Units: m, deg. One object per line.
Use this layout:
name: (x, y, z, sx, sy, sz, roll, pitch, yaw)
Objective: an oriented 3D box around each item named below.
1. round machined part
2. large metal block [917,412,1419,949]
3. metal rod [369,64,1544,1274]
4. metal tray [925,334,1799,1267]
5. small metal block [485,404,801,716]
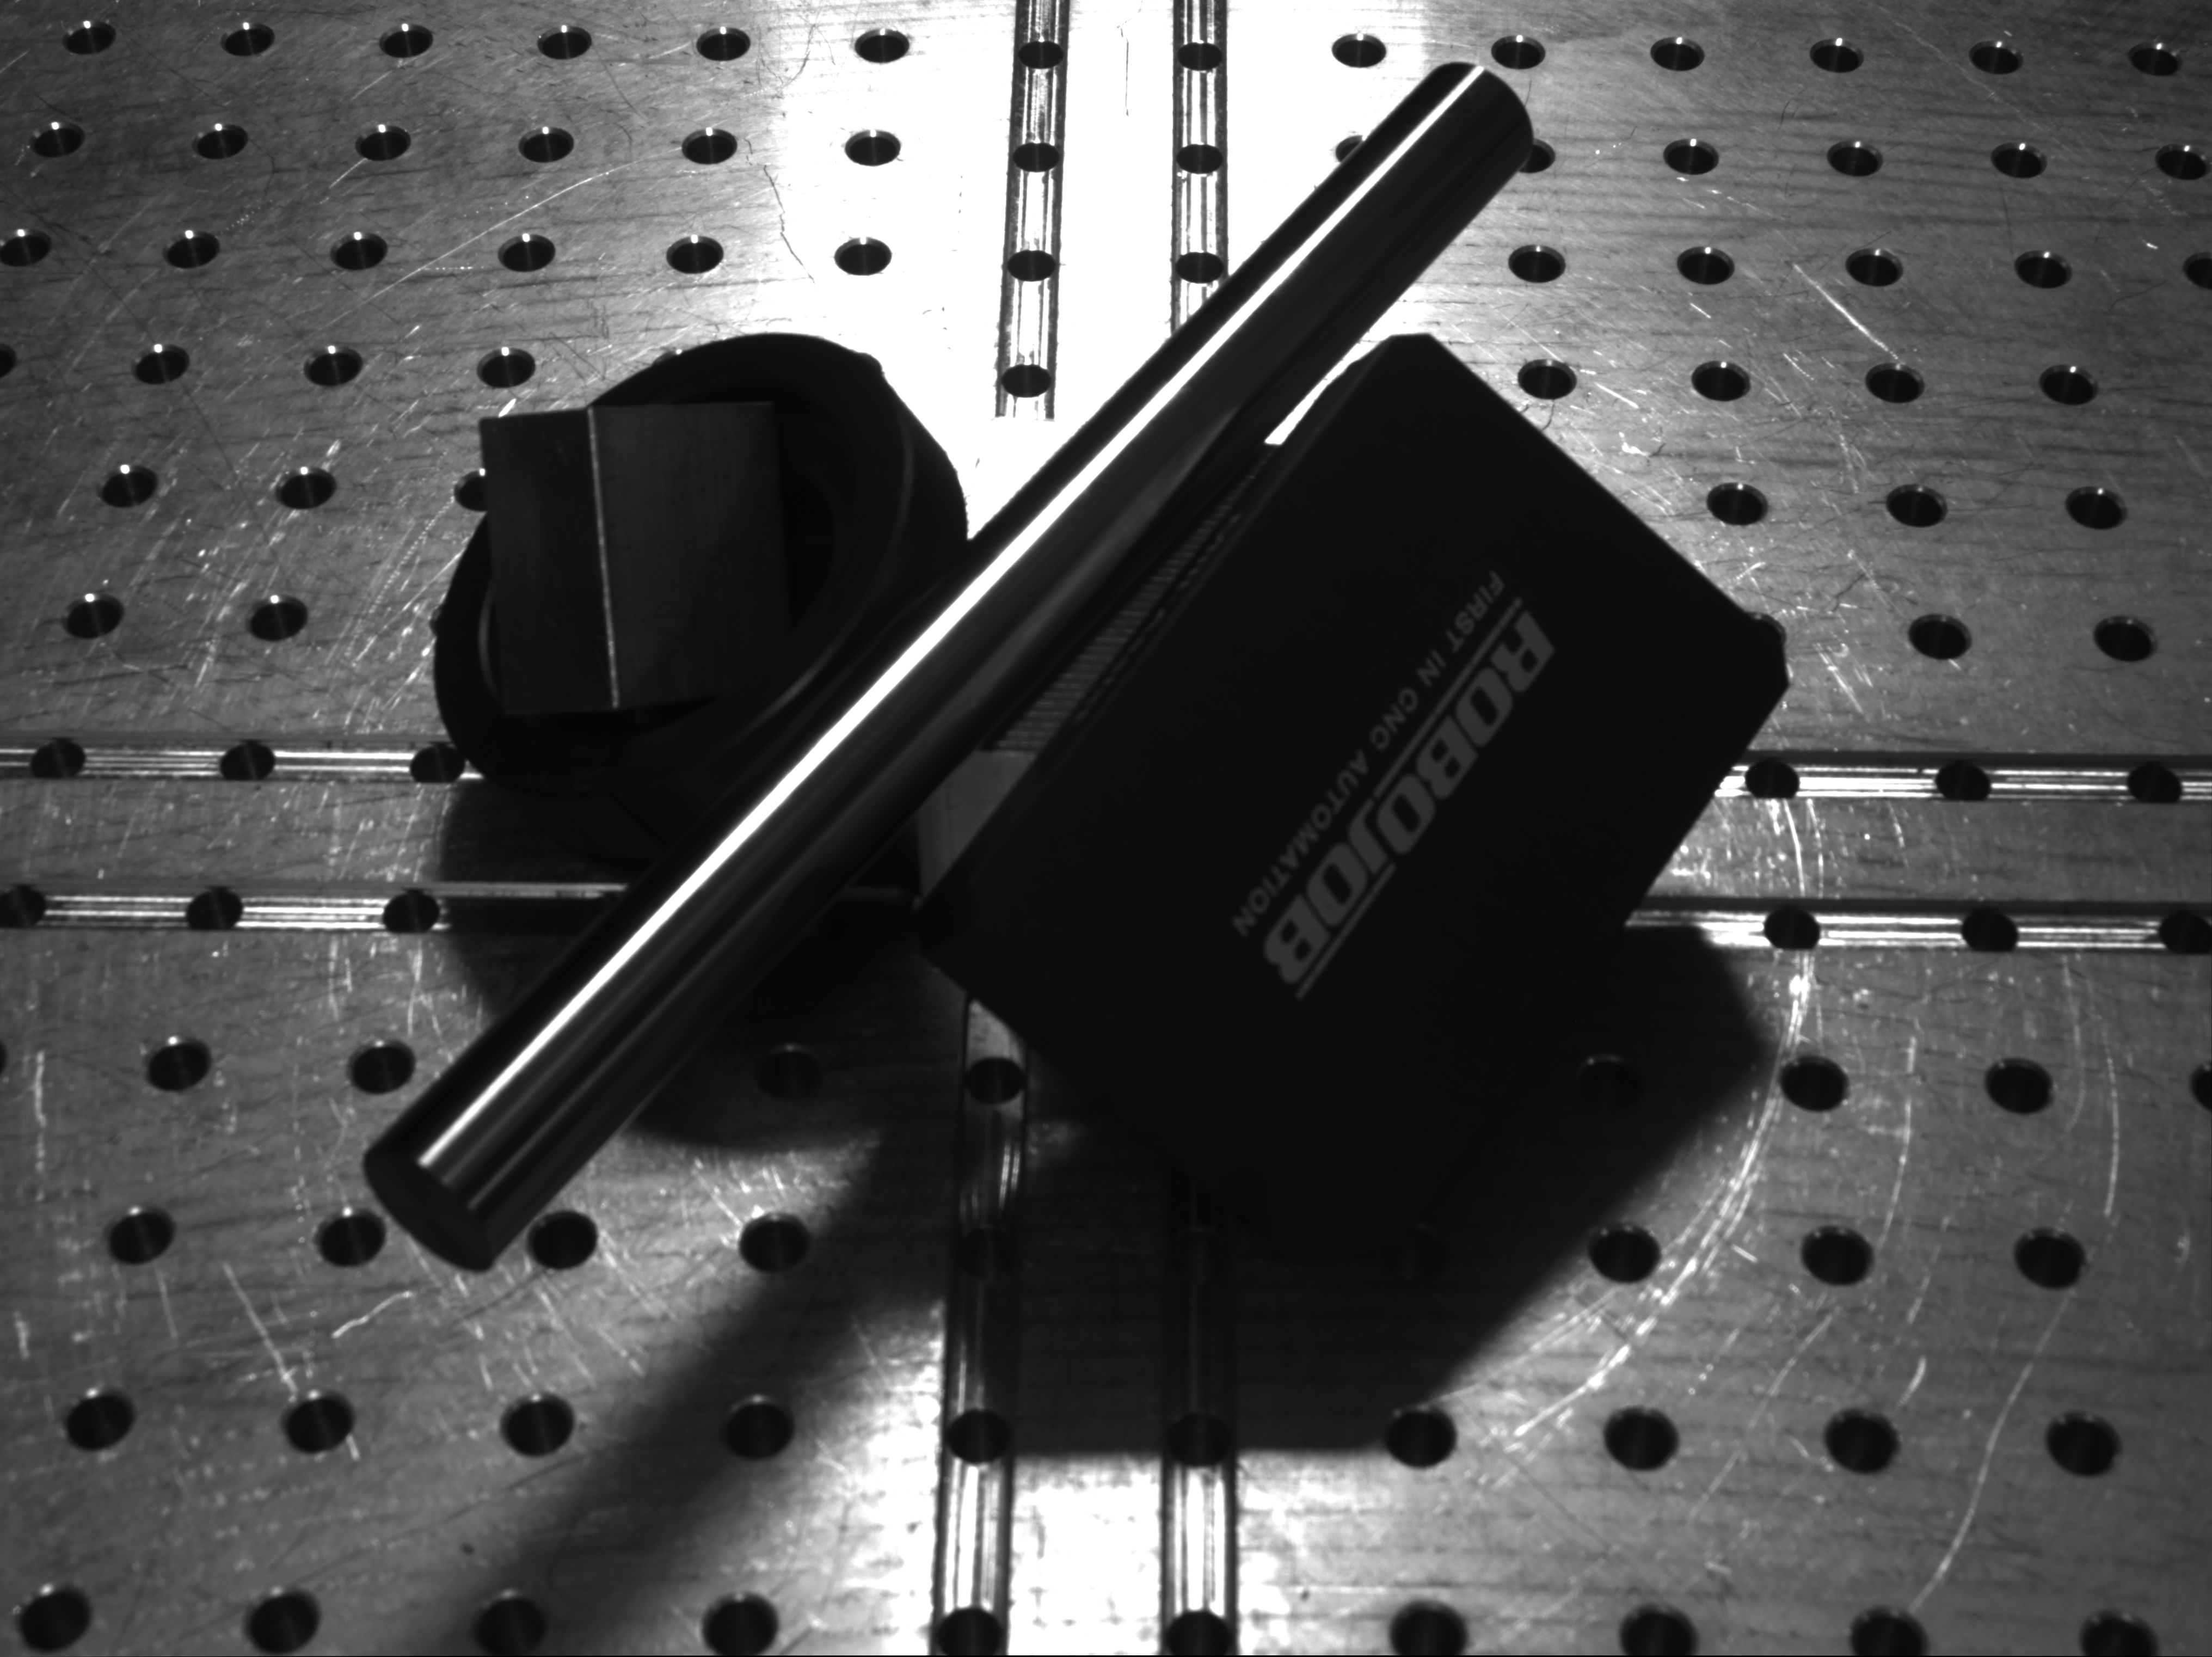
round machined part: (-0.065, -0.036, 0.647, 0.098, 0.042, 0.098, -16, 50, 20)
large metal block: (0.014, -0.024, 0.648, 0.080, 0.050, 0.080, 7, 50, 6)
metal rod: (-0.013, -0.039, 0.612, 0.025, 0.025, 0.300, 28, 55, 21)
metal tray: (0.044, -0.005, 0.602, 0.090, 0.030, 0.130, 40, 70, -8)
small metal block: (-0.079, -0.047, 0.632, 0.025, 0.050, 0.050, -1, 6, 33)
